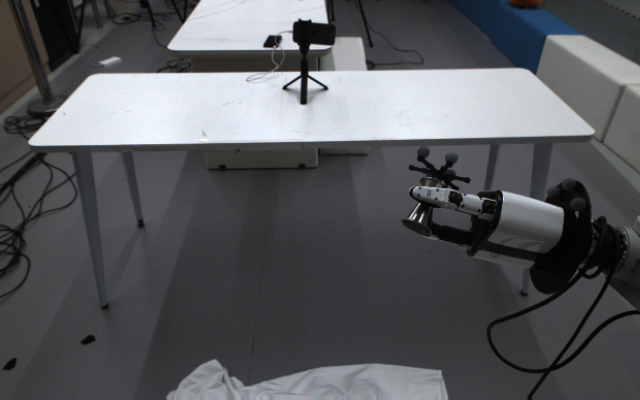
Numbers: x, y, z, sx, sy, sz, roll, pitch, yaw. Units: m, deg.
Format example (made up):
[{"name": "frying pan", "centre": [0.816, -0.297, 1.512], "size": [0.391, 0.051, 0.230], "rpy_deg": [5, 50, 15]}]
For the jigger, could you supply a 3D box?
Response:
[{"name": "jigger", "centre": [0.143, 0.004, 0.658], "size": [0.043, 0.043, 0.071], "rpy_deg": [19, 72, 23]}]
